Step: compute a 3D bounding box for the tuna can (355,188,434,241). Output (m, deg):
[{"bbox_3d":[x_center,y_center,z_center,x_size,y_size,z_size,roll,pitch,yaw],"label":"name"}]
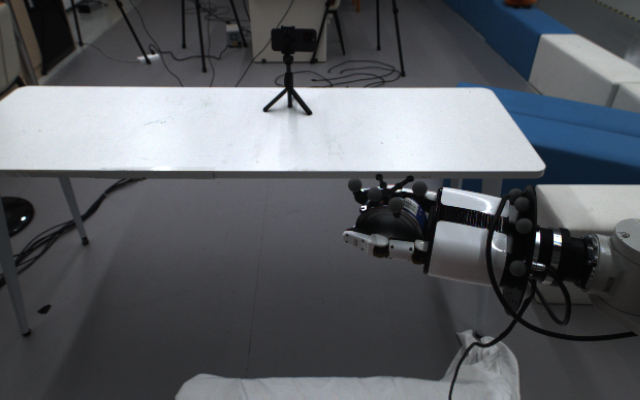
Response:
[{"bbox_3d":[0.092,0.030,0.611,0.085,0.085,0.034,14,41,16],"label":"tuna can"}]
